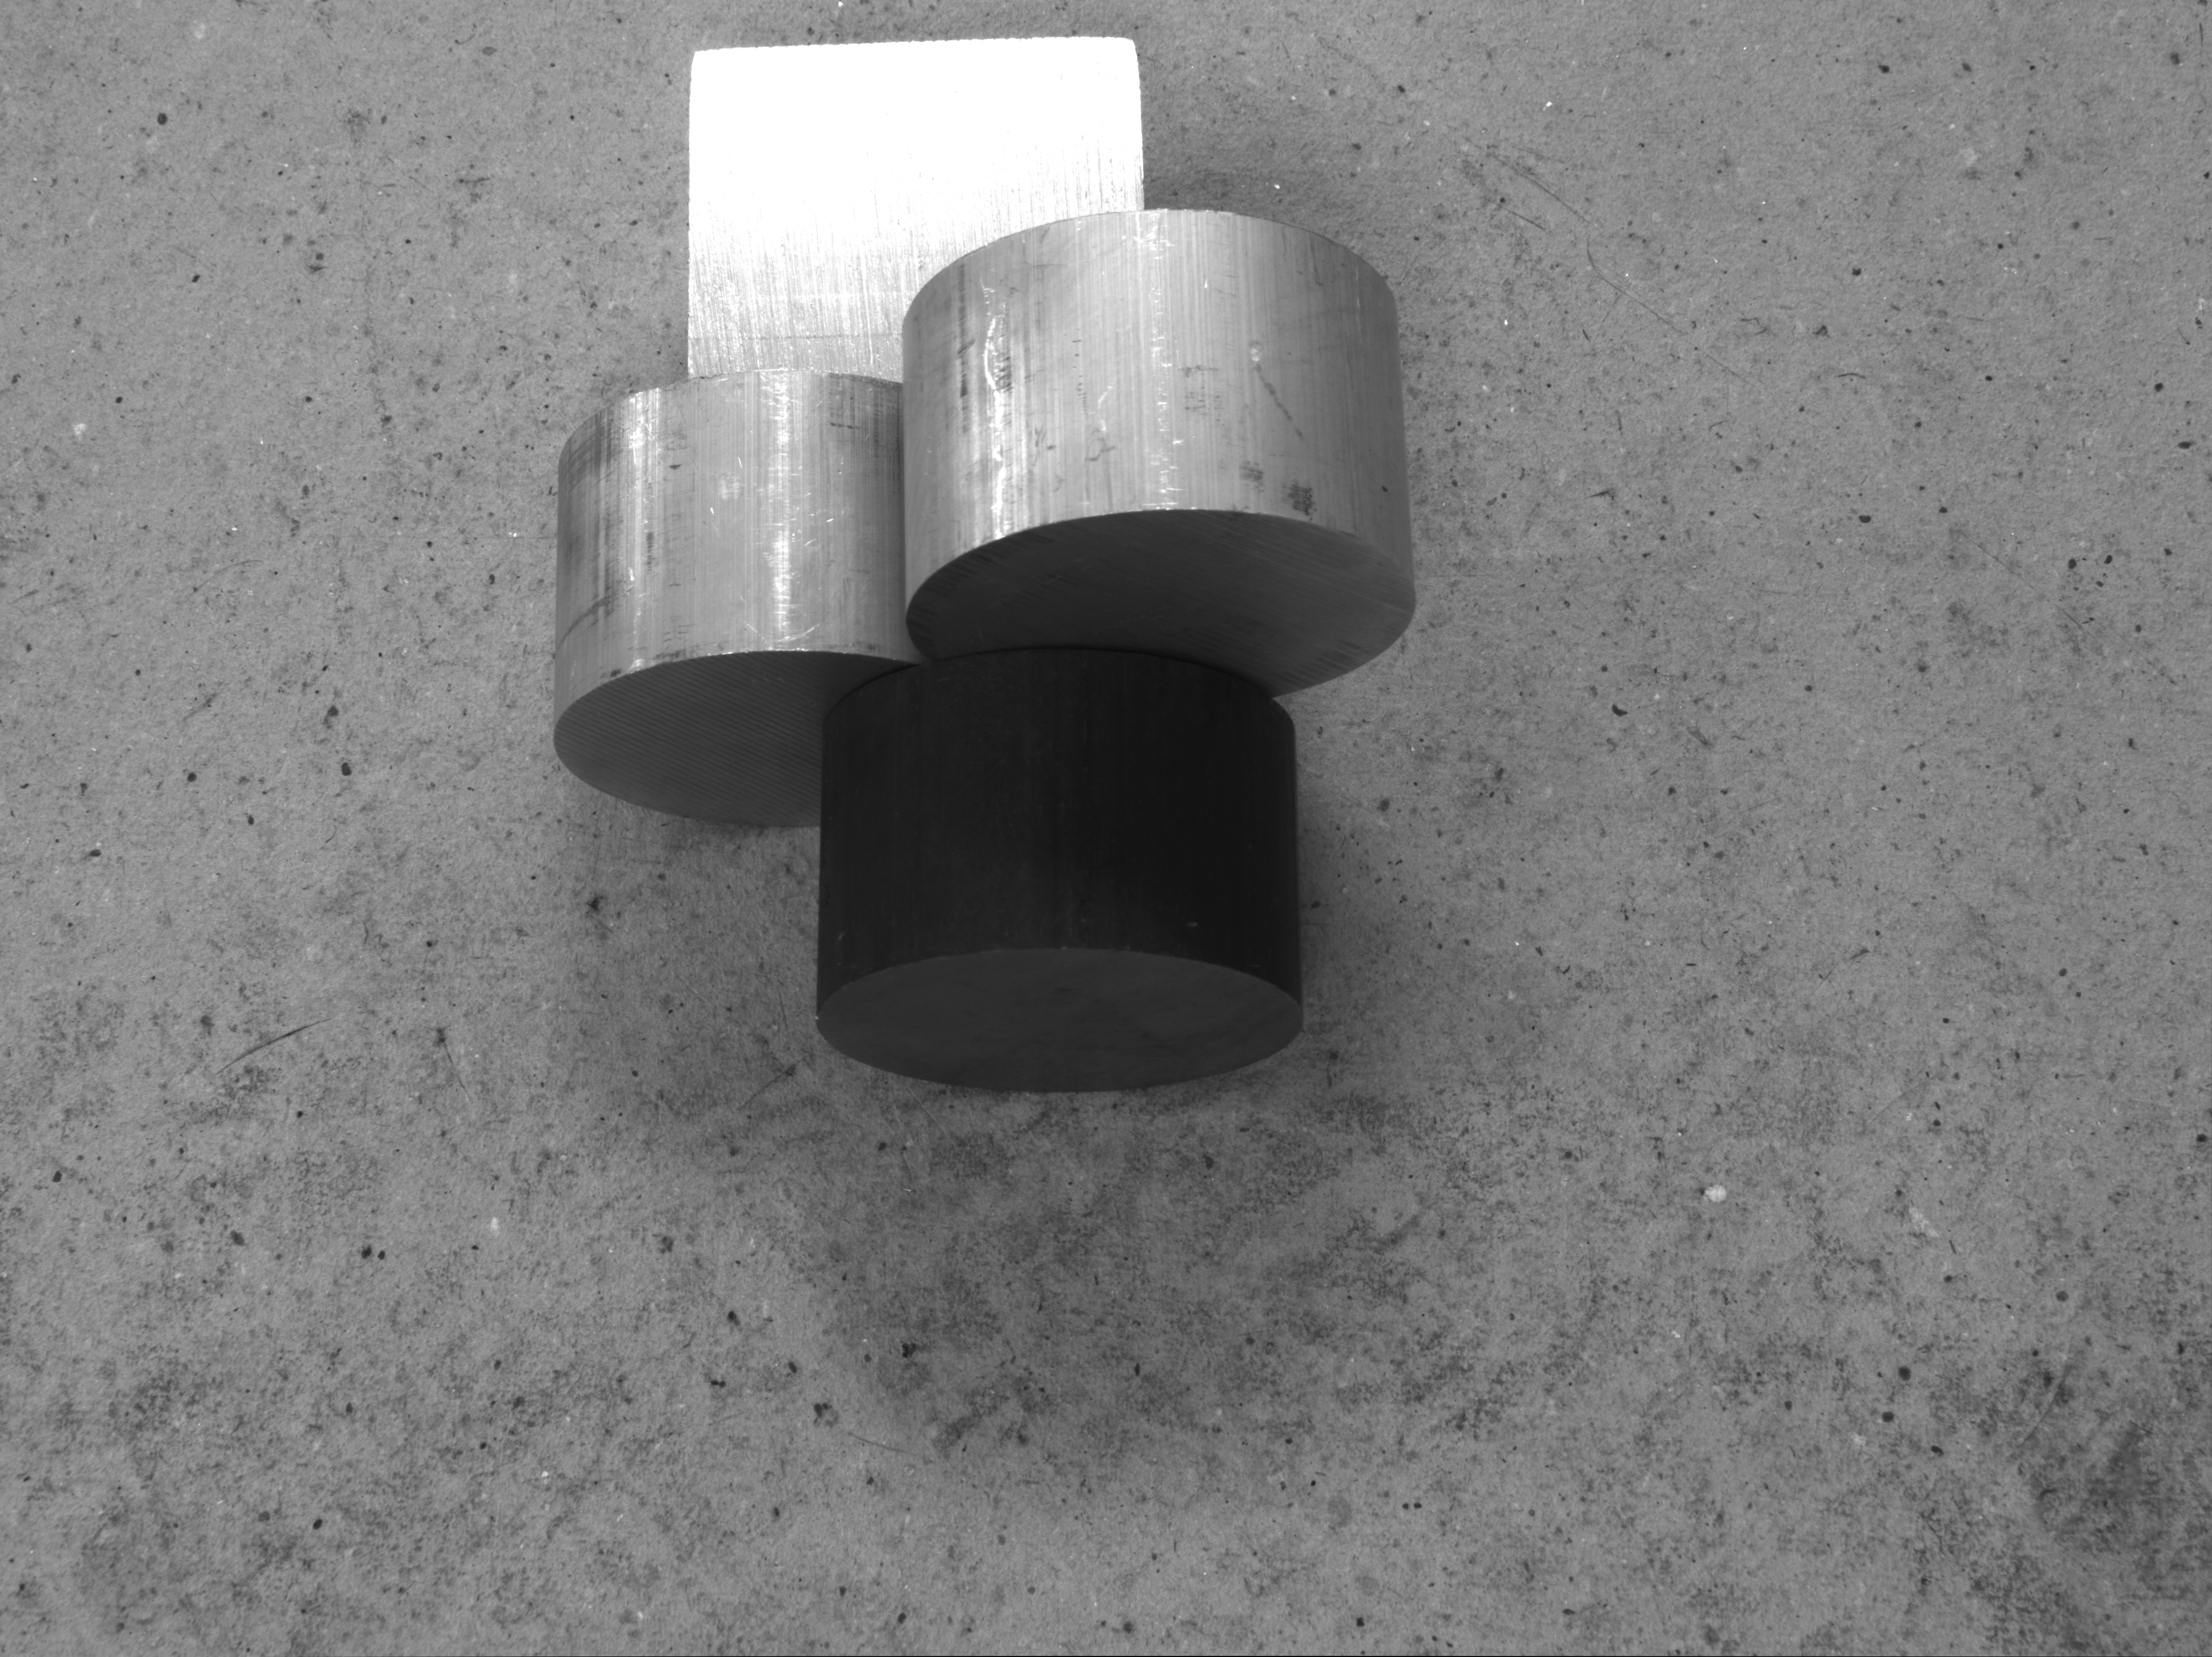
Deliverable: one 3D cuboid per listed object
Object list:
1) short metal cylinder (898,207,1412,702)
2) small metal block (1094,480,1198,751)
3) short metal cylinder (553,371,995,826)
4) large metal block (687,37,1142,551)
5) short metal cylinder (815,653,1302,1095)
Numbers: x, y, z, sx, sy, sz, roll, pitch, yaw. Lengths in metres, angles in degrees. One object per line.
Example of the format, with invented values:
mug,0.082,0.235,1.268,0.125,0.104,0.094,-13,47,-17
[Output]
short metal cylinder,0.007,-0.057,0.584,0.080,0.080,0.050,-2,70,-1
small metal block,0.011,-0.032,0.647,0.025,0.050,0.050,1,70,1
short metal cylinder,-0.054,-0.038,0.631,0.080,0.080,0.050,-2,70,-1
large metal block,-0.033,-0.095,0.668,0.080,0.050,0.080,-2,70,0
short metal cylinder,-0.008,0.009,0.614,0.080,0.080,0.050,0,70,0
